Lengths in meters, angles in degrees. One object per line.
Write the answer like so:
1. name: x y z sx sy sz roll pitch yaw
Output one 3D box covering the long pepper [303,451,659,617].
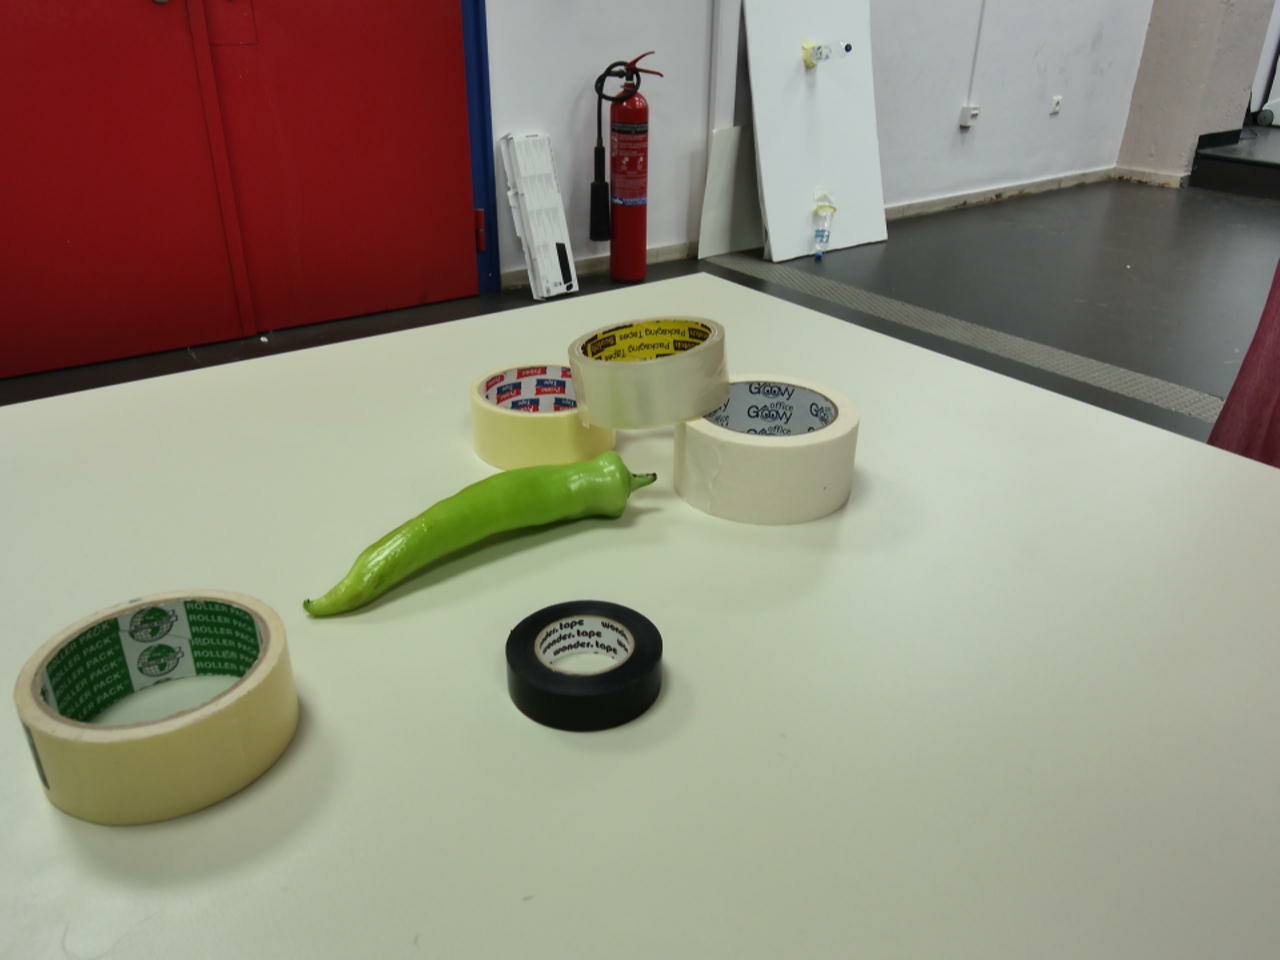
1. long pepper: -0.080 0.019 0.510 0.197 0.038 0.047 -16 30 -32
